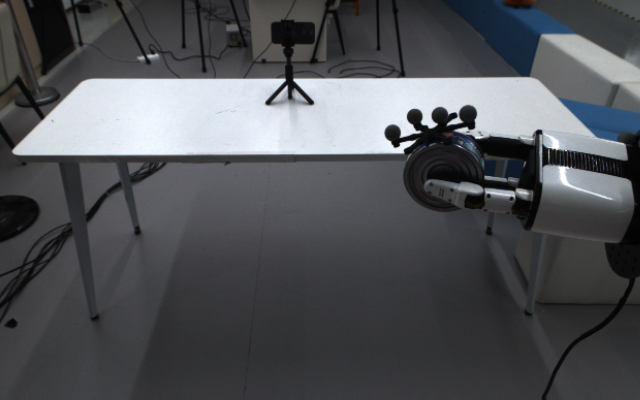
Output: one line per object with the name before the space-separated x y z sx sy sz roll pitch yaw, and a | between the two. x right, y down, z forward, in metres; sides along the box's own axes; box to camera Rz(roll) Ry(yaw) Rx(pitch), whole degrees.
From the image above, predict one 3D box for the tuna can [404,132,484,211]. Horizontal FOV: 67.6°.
tuna can | 0.137 -0.032 0.529 0.085 0.085 0.034 11 34 13
